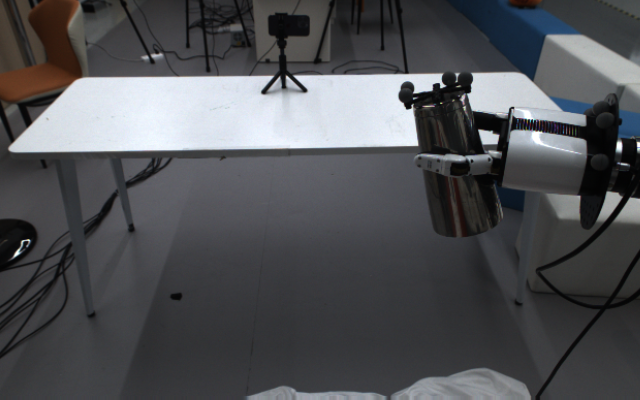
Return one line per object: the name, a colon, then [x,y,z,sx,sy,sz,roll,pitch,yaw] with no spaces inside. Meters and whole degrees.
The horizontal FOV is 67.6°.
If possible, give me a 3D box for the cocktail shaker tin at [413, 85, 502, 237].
cocktail shaker tin: [0.172,-0.049,0.620,0.093,0.170,0.093,-17,20,7]
